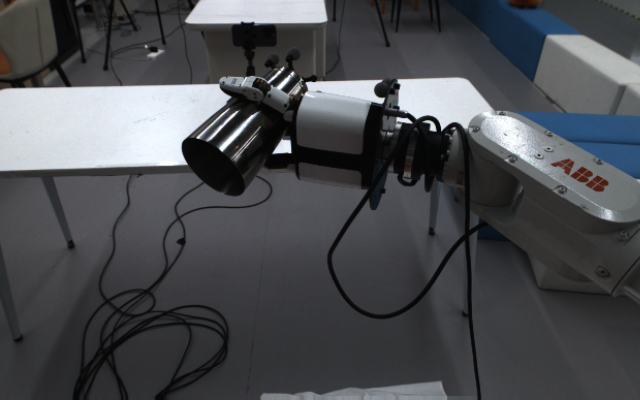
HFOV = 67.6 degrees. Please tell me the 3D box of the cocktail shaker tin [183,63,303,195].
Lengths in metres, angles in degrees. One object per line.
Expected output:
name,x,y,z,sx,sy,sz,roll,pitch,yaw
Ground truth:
cocktail shaker tin,-0.082,-0.100,0.613,0.093,0.093,0.170,19,55,23
